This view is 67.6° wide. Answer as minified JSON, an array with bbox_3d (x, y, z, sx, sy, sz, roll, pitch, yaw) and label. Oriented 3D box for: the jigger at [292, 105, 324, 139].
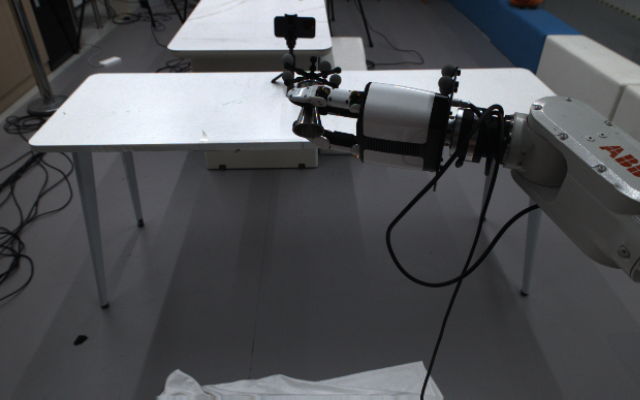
[{"bbox_3d":[-0.015,-0.126,0.661,0.043,0.043,0.071,3,72,1],"label":"jigger"}]
